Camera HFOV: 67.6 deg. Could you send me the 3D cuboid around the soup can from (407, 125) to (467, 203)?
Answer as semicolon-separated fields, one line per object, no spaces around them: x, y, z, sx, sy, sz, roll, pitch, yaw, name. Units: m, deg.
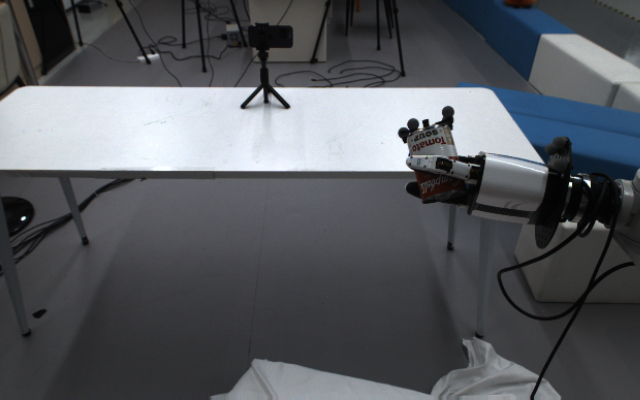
0.172;-0.053;0.715;0.067;0.067;0.101;-10;80;-16;soup can
